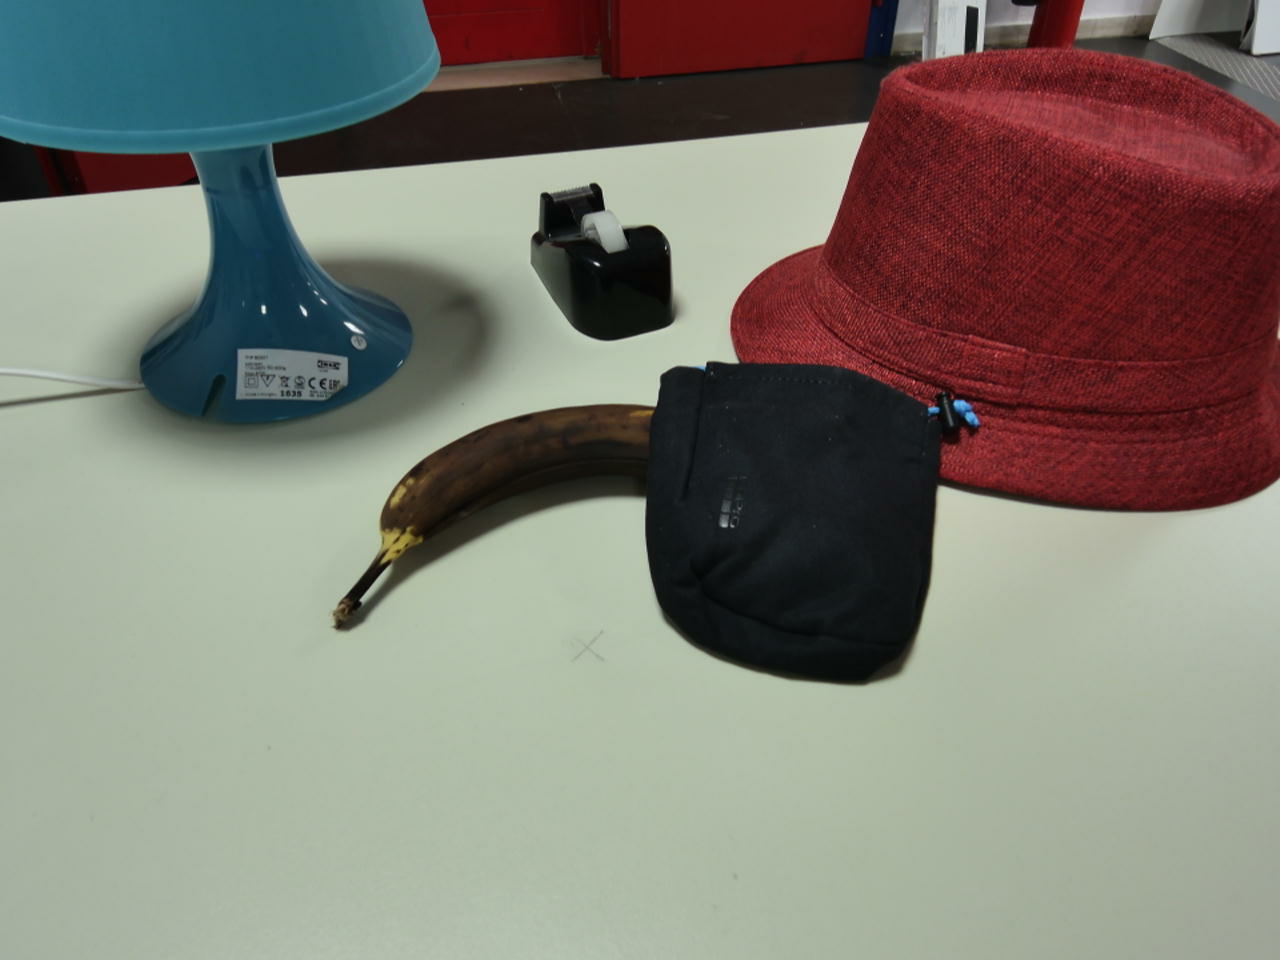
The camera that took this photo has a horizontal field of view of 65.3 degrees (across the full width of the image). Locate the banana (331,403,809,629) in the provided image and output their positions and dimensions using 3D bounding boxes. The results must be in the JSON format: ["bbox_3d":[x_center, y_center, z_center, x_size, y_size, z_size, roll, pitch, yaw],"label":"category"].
[{"bbox_3d":[-0.031,0.001,0.412,0.188,0.034,0.091,-8,39,-10],"label":"banana"}]
